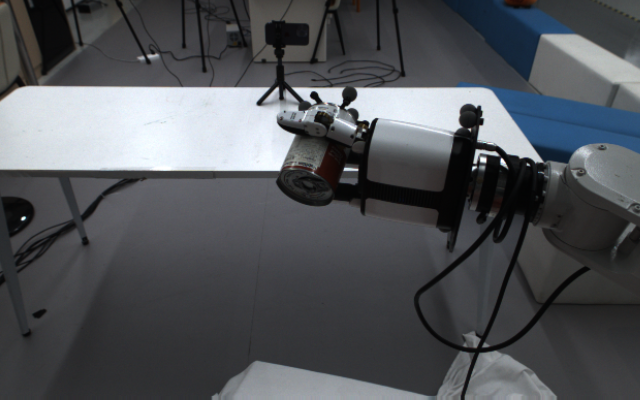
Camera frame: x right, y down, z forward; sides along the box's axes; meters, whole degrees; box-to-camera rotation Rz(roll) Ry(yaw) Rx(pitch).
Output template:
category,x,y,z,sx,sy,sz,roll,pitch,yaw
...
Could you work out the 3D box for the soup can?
category,x,y,z,sx,sy,sz,roll,pitch,yaw
soup can,-0.001,-0.055,0.556,0.067,0.067,0.101,12,59,14
